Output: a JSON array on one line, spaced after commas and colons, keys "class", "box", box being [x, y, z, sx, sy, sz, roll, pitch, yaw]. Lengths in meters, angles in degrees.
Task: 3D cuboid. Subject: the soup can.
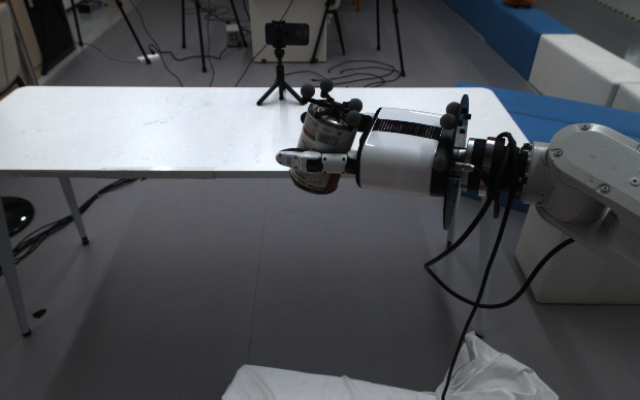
[{"class": "soup can", "box": [0.006, -0.067, 0.617, 0.067, 0.101, 0.067, 13, 35, -9]}]
